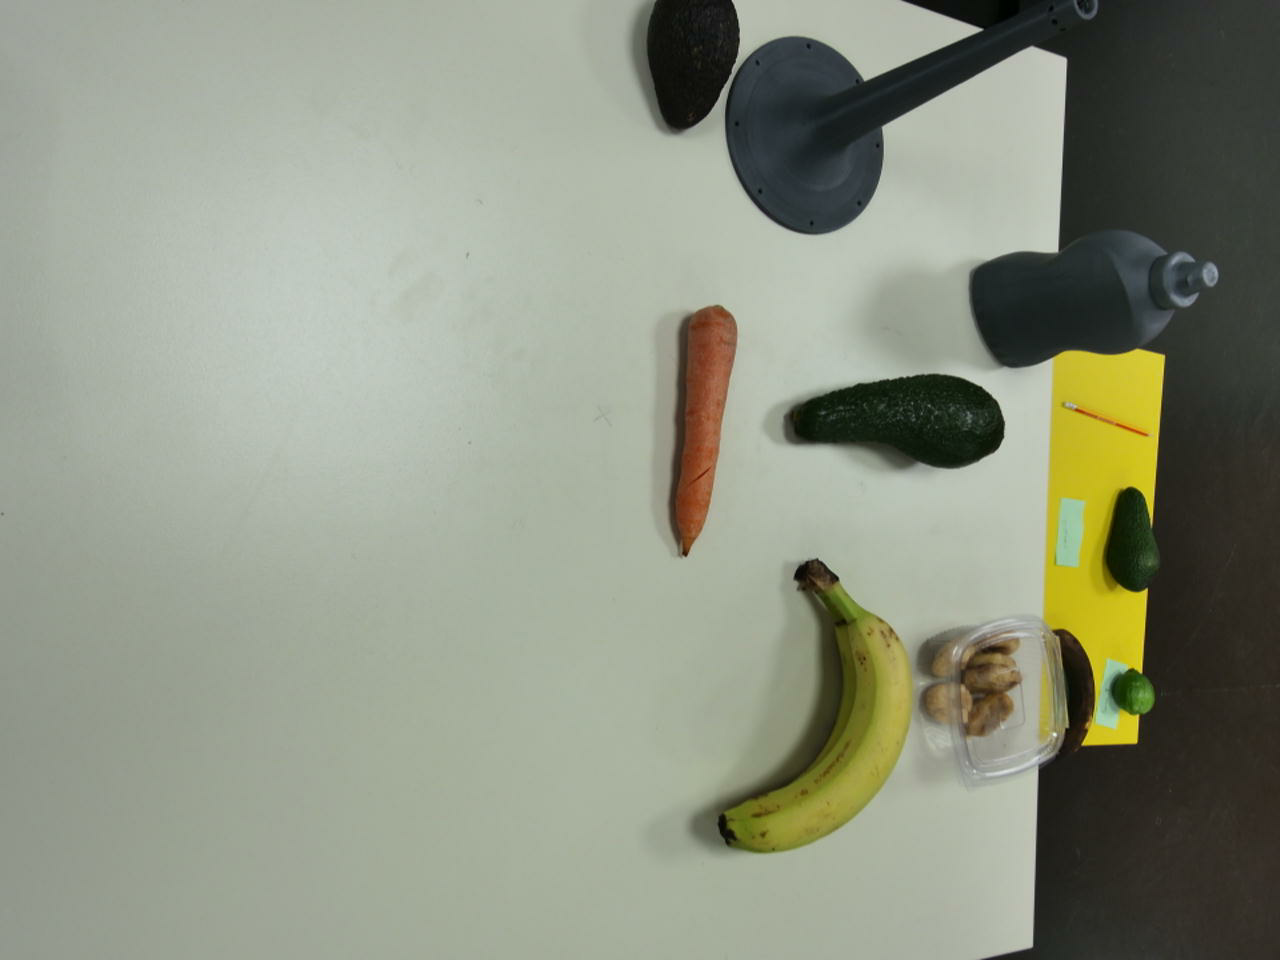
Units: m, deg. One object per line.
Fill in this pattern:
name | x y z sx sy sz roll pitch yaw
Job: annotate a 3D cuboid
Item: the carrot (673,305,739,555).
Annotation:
carrot | 0.050 -0.036 0.766 0.039 0.041 0.196 5 88 -29
